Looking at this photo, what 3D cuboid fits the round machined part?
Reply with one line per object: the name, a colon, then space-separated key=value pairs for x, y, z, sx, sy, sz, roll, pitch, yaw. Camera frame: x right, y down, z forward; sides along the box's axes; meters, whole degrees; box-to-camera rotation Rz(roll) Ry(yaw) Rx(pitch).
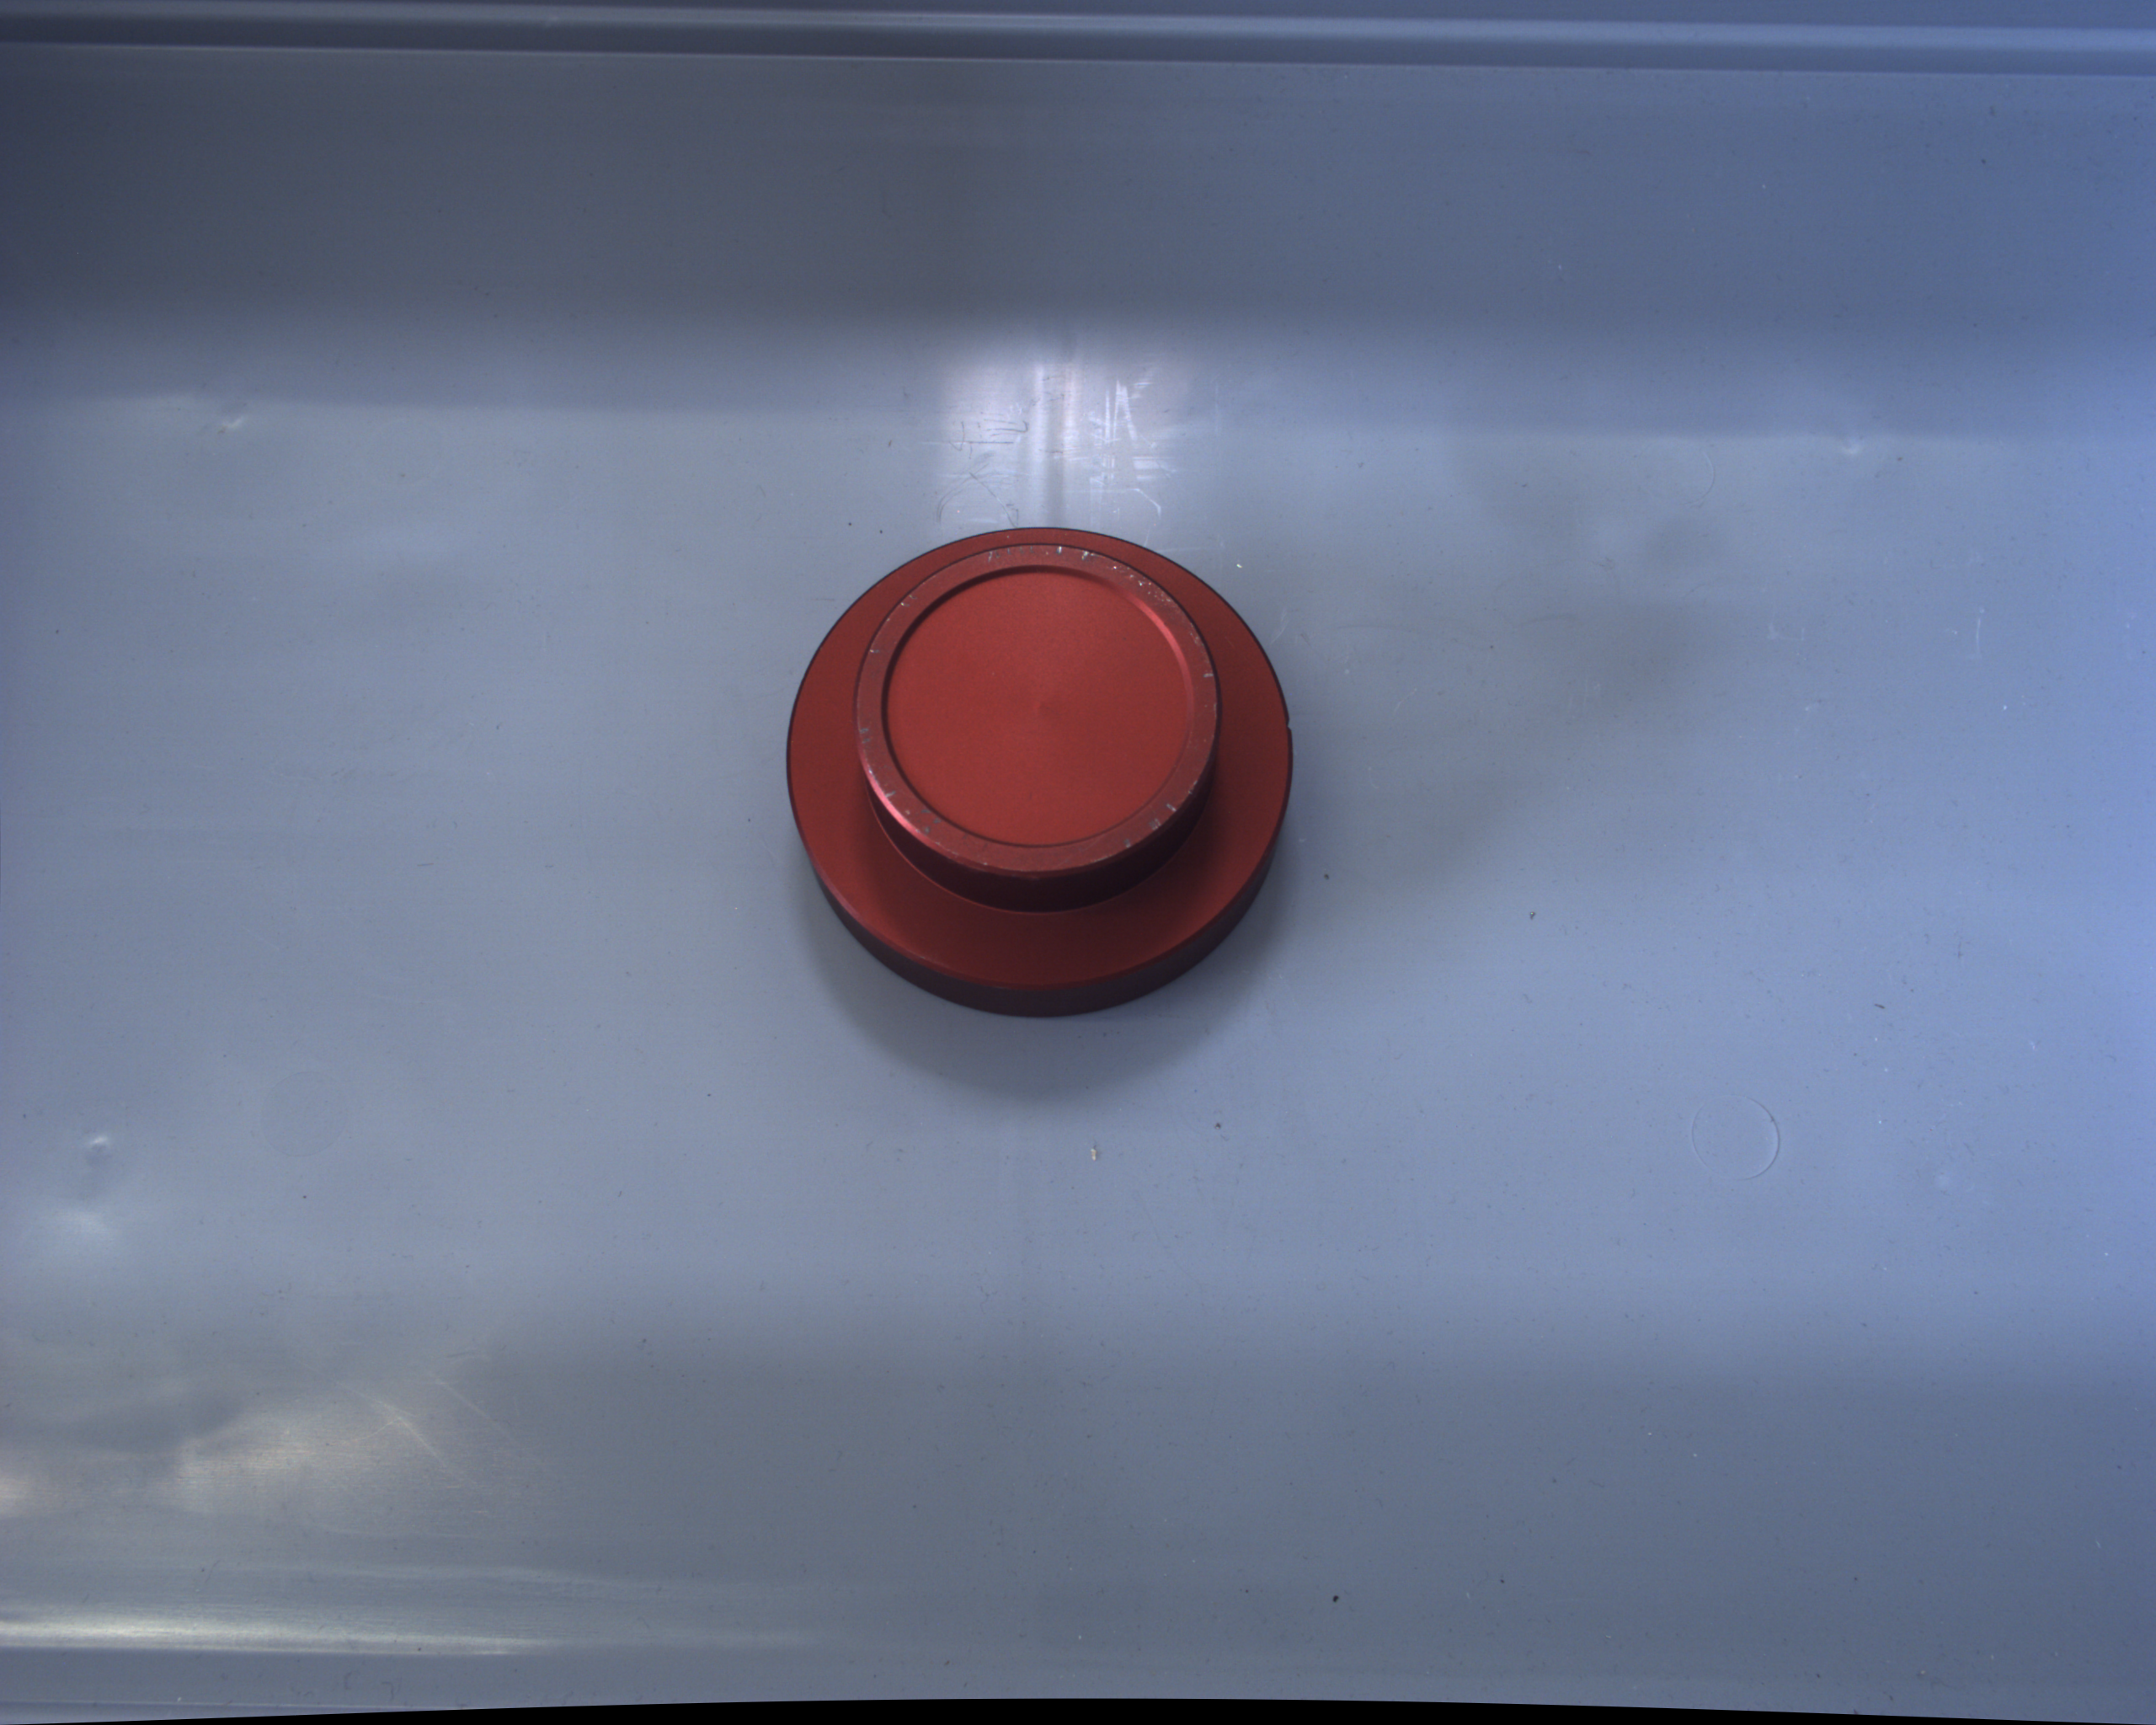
round machined part: x=-0.007 y=-0.022 z=0.406 sx=0.099 sy=0.042 sz=0.098 roll=0 pitch=70 yaw=0
